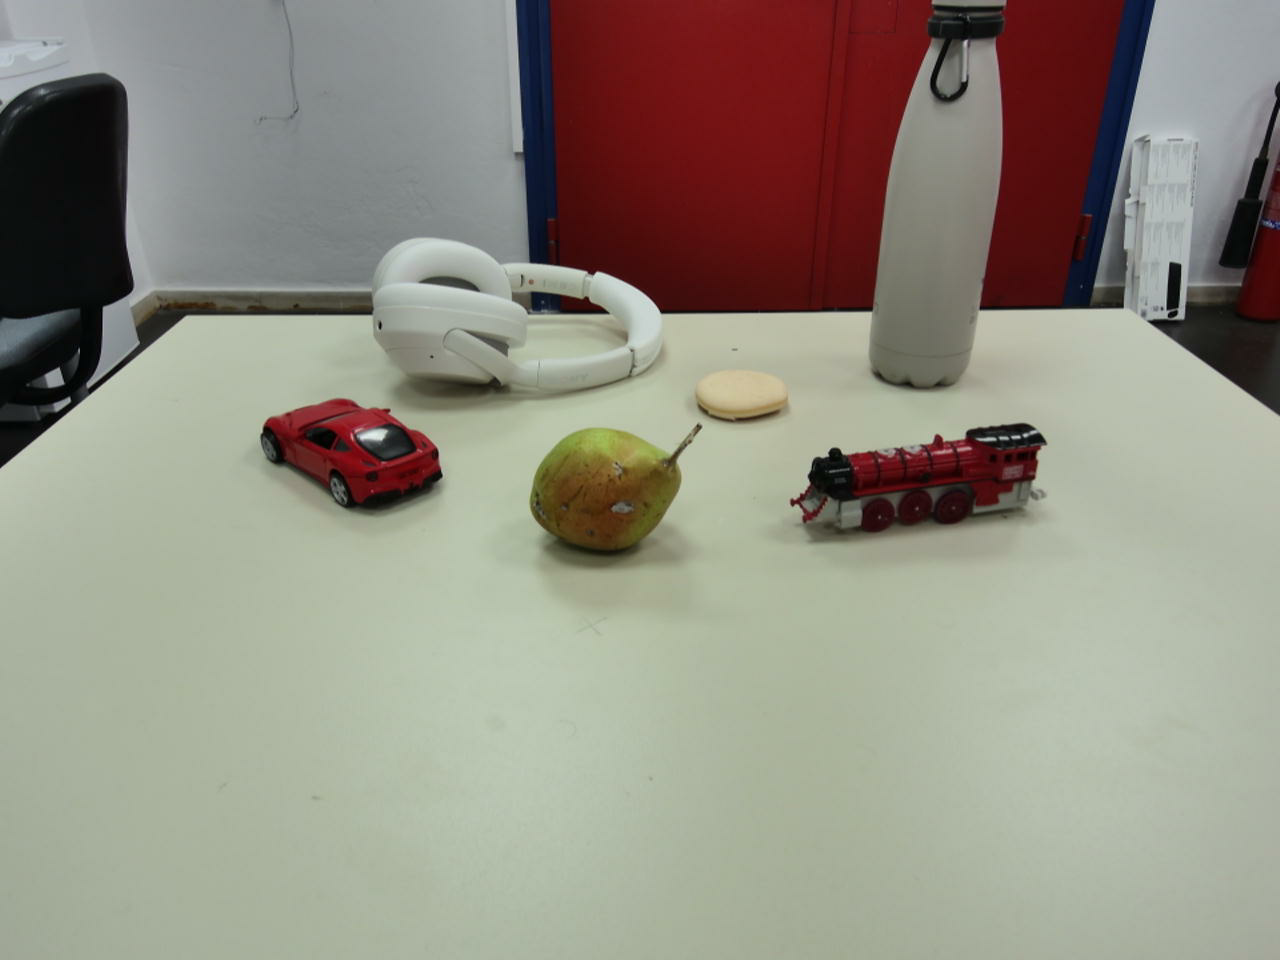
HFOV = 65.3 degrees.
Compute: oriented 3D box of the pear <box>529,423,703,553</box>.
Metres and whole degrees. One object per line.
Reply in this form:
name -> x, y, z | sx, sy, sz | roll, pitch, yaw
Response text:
pear -> -0.017, 0.002, 0.505 | 0.068, 0.069, 0.070 | -20, 32, -34
